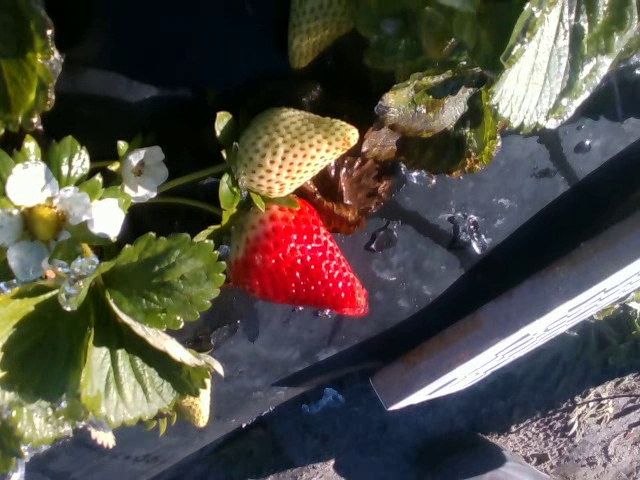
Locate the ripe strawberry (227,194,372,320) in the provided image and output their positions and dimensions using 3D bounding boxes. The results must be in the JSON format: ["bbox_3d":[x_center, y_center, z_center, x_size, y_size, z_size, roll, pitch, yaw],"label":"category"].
[{"bbox_3d":[-0.005,0.009,0.199,0.053,0.040,0.042,37,43,4],"label":"ripe strawberry"}]
